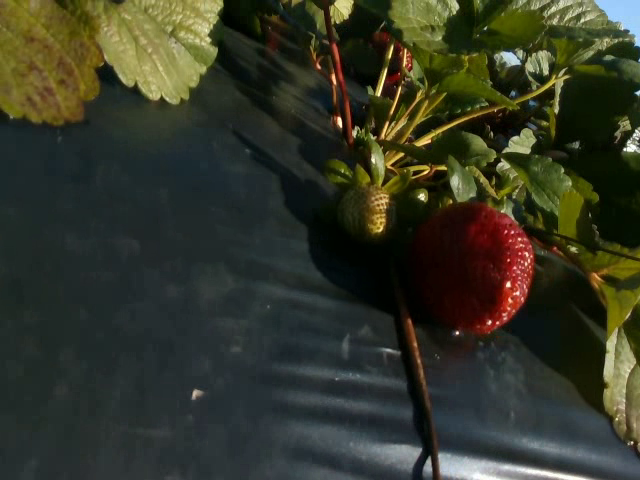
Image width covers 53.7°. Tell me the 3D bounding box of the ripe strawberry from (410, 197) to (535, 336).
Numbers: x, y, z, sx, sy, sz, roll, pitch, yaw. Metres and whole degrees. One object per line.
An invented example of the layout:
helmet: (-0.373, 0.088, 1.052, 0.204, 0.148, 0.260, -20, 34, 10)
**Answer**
ripe strawberry: (0.044, 0.010, 0.176, 0.041, 0.043, 0.053, 33, 8, -18)
